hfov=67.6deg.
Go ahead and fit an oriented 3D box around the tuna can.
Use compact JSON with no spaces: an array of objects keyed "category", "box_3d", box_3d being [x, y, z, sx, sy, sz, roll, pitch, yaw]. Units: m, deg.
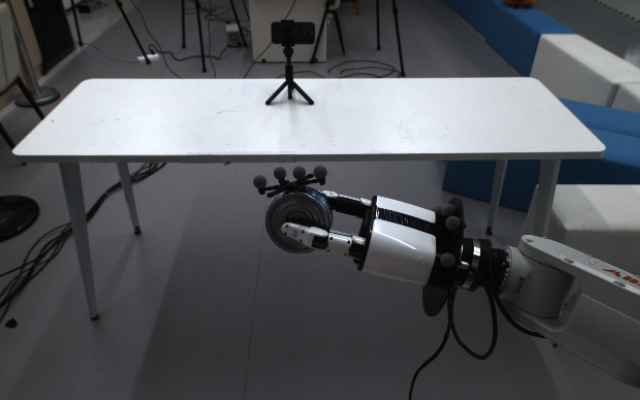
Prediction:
[{"category":"tuna can","box_3d":[-0.025,0.025,0.631,0.085,0.085,0.034,6,18,5]}]
